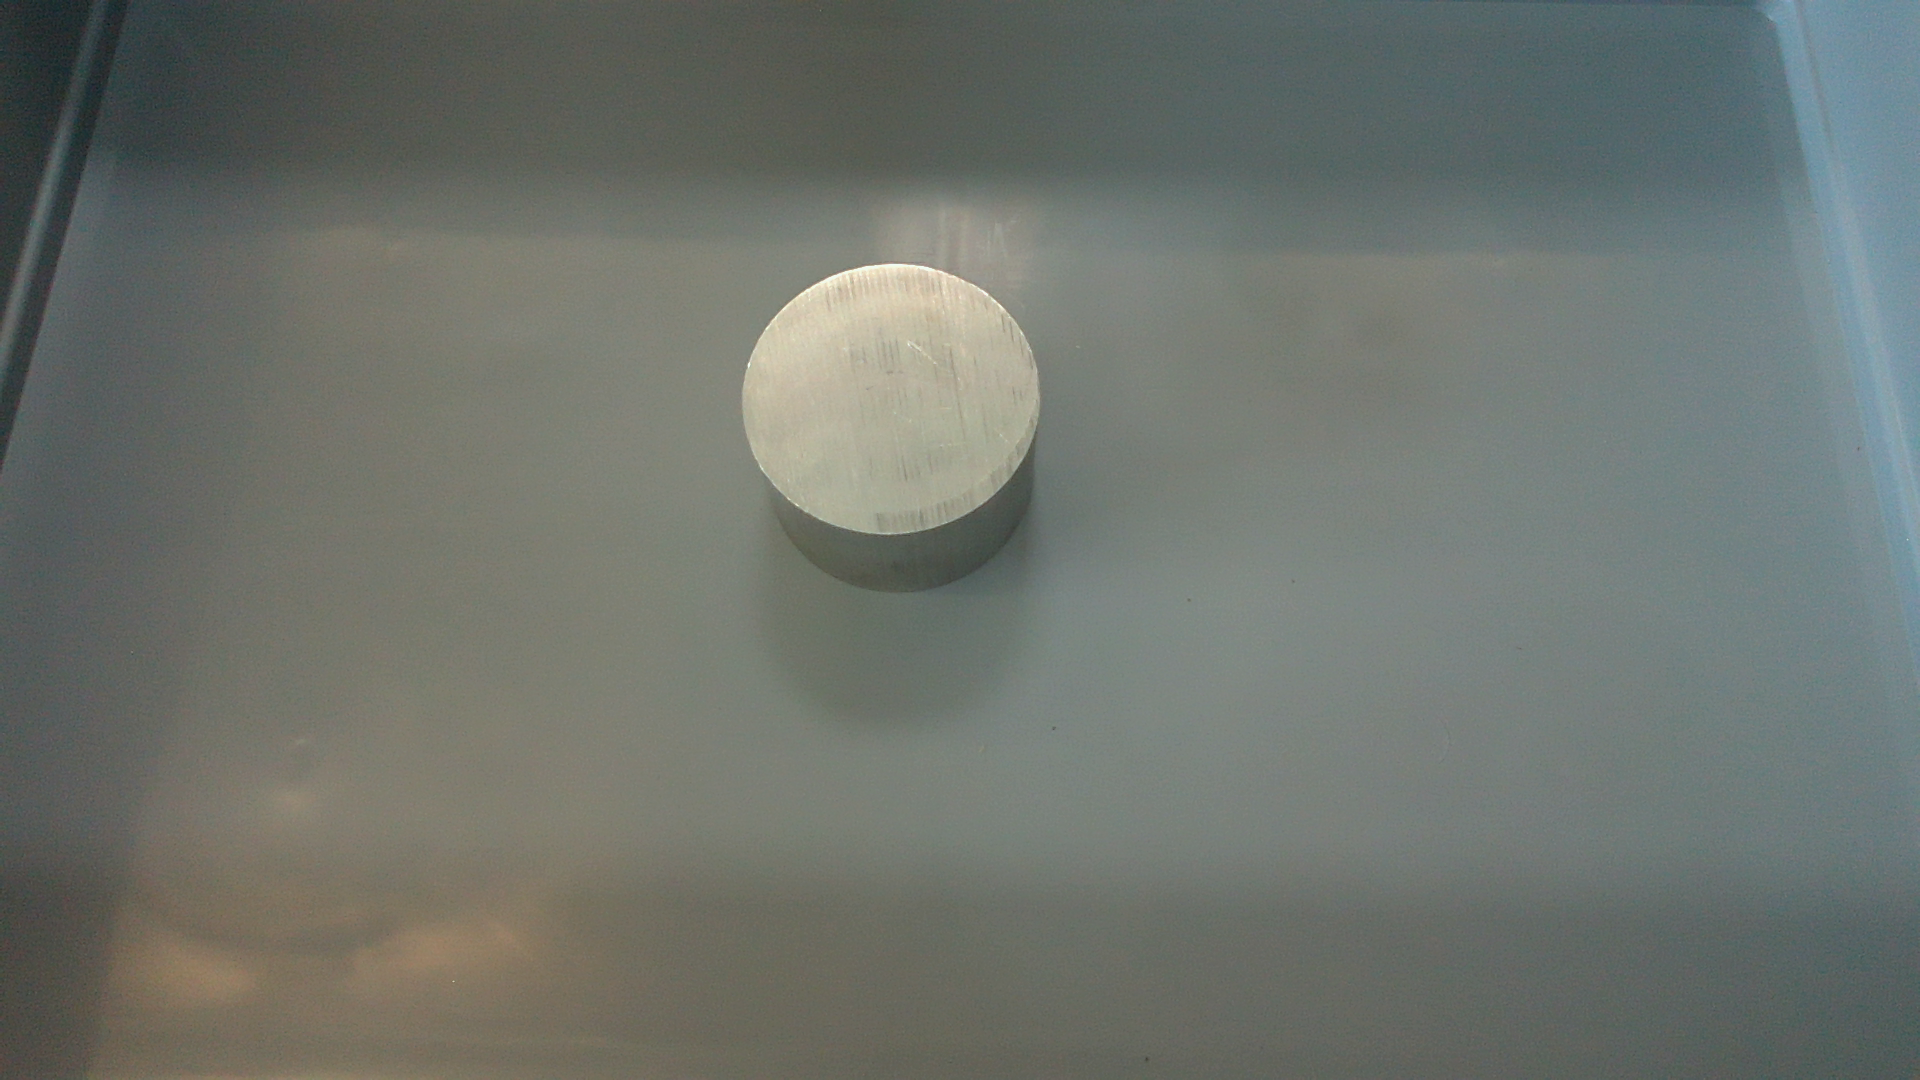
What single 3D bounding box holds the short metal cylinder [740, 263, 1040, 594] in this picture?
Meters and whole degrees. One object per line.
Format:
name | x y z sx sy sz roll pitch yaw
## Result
short metal cylinder | -0.019 -0.031 0.391 0.080 0.050 0.080 0 70 0
